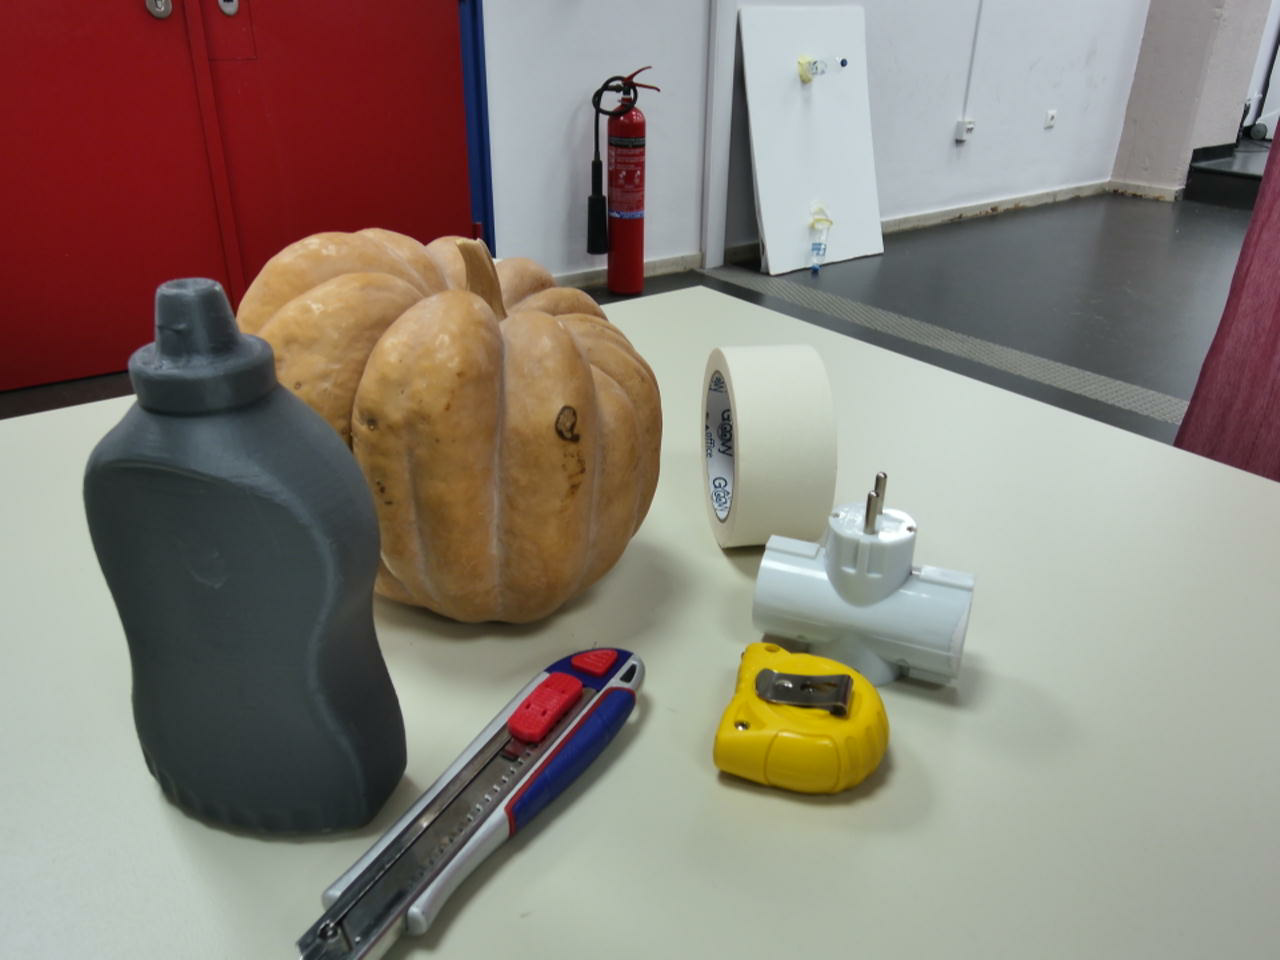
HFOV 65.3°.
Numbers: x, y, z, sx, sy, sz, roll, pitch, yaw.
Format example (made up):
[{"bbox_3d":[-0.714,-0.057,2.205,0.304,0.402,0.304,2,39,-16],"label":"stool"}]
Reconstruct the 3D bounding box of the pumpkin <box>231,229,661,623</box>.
[{"bbox_3d":[-0.086,-0.027,0.467,0.199,0.177,0.198,1,25,0],"label":"pumpkin"}]
